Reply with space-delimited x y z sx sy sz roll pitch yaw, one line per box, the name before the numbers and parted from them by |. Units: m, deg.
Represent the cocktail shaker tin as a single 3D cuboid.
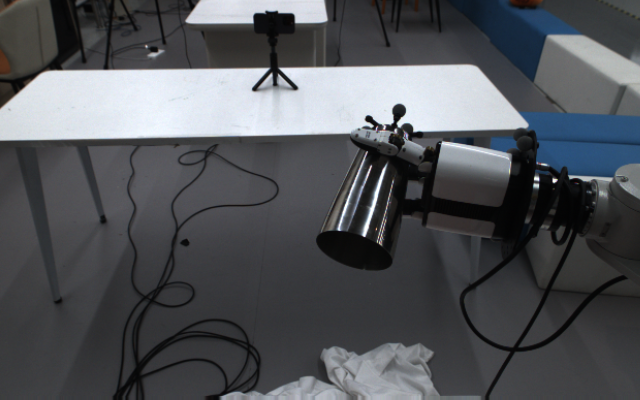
cocktail shaker tin | 0.066 -0.012 0.600 0.093 0.093 0.170 13 59 15
